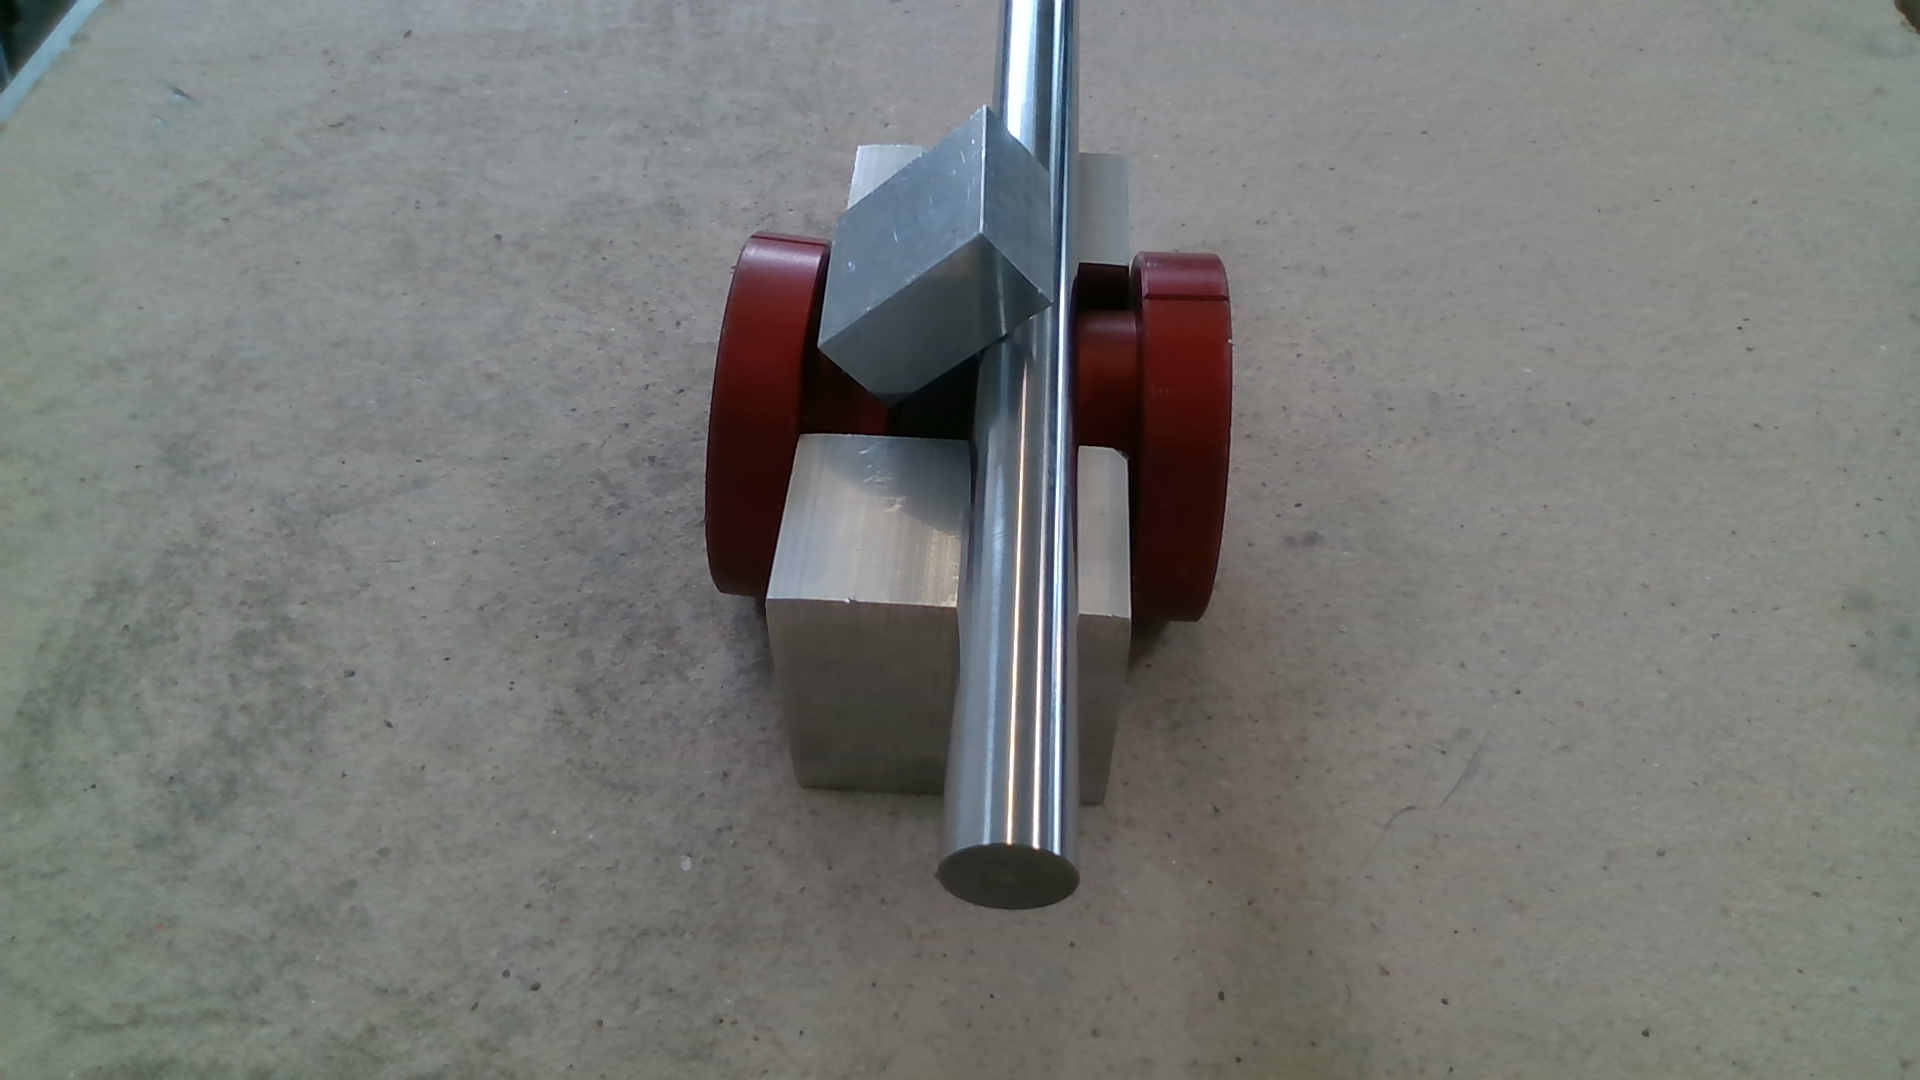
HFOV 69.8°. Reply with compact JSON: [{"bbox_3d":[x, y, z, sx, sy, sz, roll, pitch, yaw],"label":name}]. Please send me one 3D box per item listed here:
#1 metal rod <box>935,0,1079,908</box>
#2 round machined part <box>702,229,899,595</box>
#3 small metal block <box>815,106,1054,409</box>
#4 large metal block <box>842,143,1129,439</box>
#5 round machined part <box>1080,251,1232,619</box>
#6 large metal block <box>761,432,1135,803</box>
[{"bbox_3d":[0.016,-0.056,0.336,0.025,0.025,0.299,2,50,2],"label":"metal rod"},{"bbox_3d":[-0.039,-0.032,0.373,0.042,0.098,0.098,7,50,-1],"label":"round machined part"},{"bbox_3d":[-0.006,-0.067,0.328,0.050,0.025,0.050,-29,40,30],"label":"small metal block"},{"bbox_3d":[0.007,-0.069,0.416,0.080,0.080,0.050,3,50,3],"label":"large metal block"},{"bbox_3d":[0.045,-0.028,0.370,0.042,0.098,0.098,2,50,3],"label":"round machined part"},{"bbox_3d":[-0.001,0.021,0.341,0.080,0.080,0.050,3,50,2],"label":"large metal block"}]
